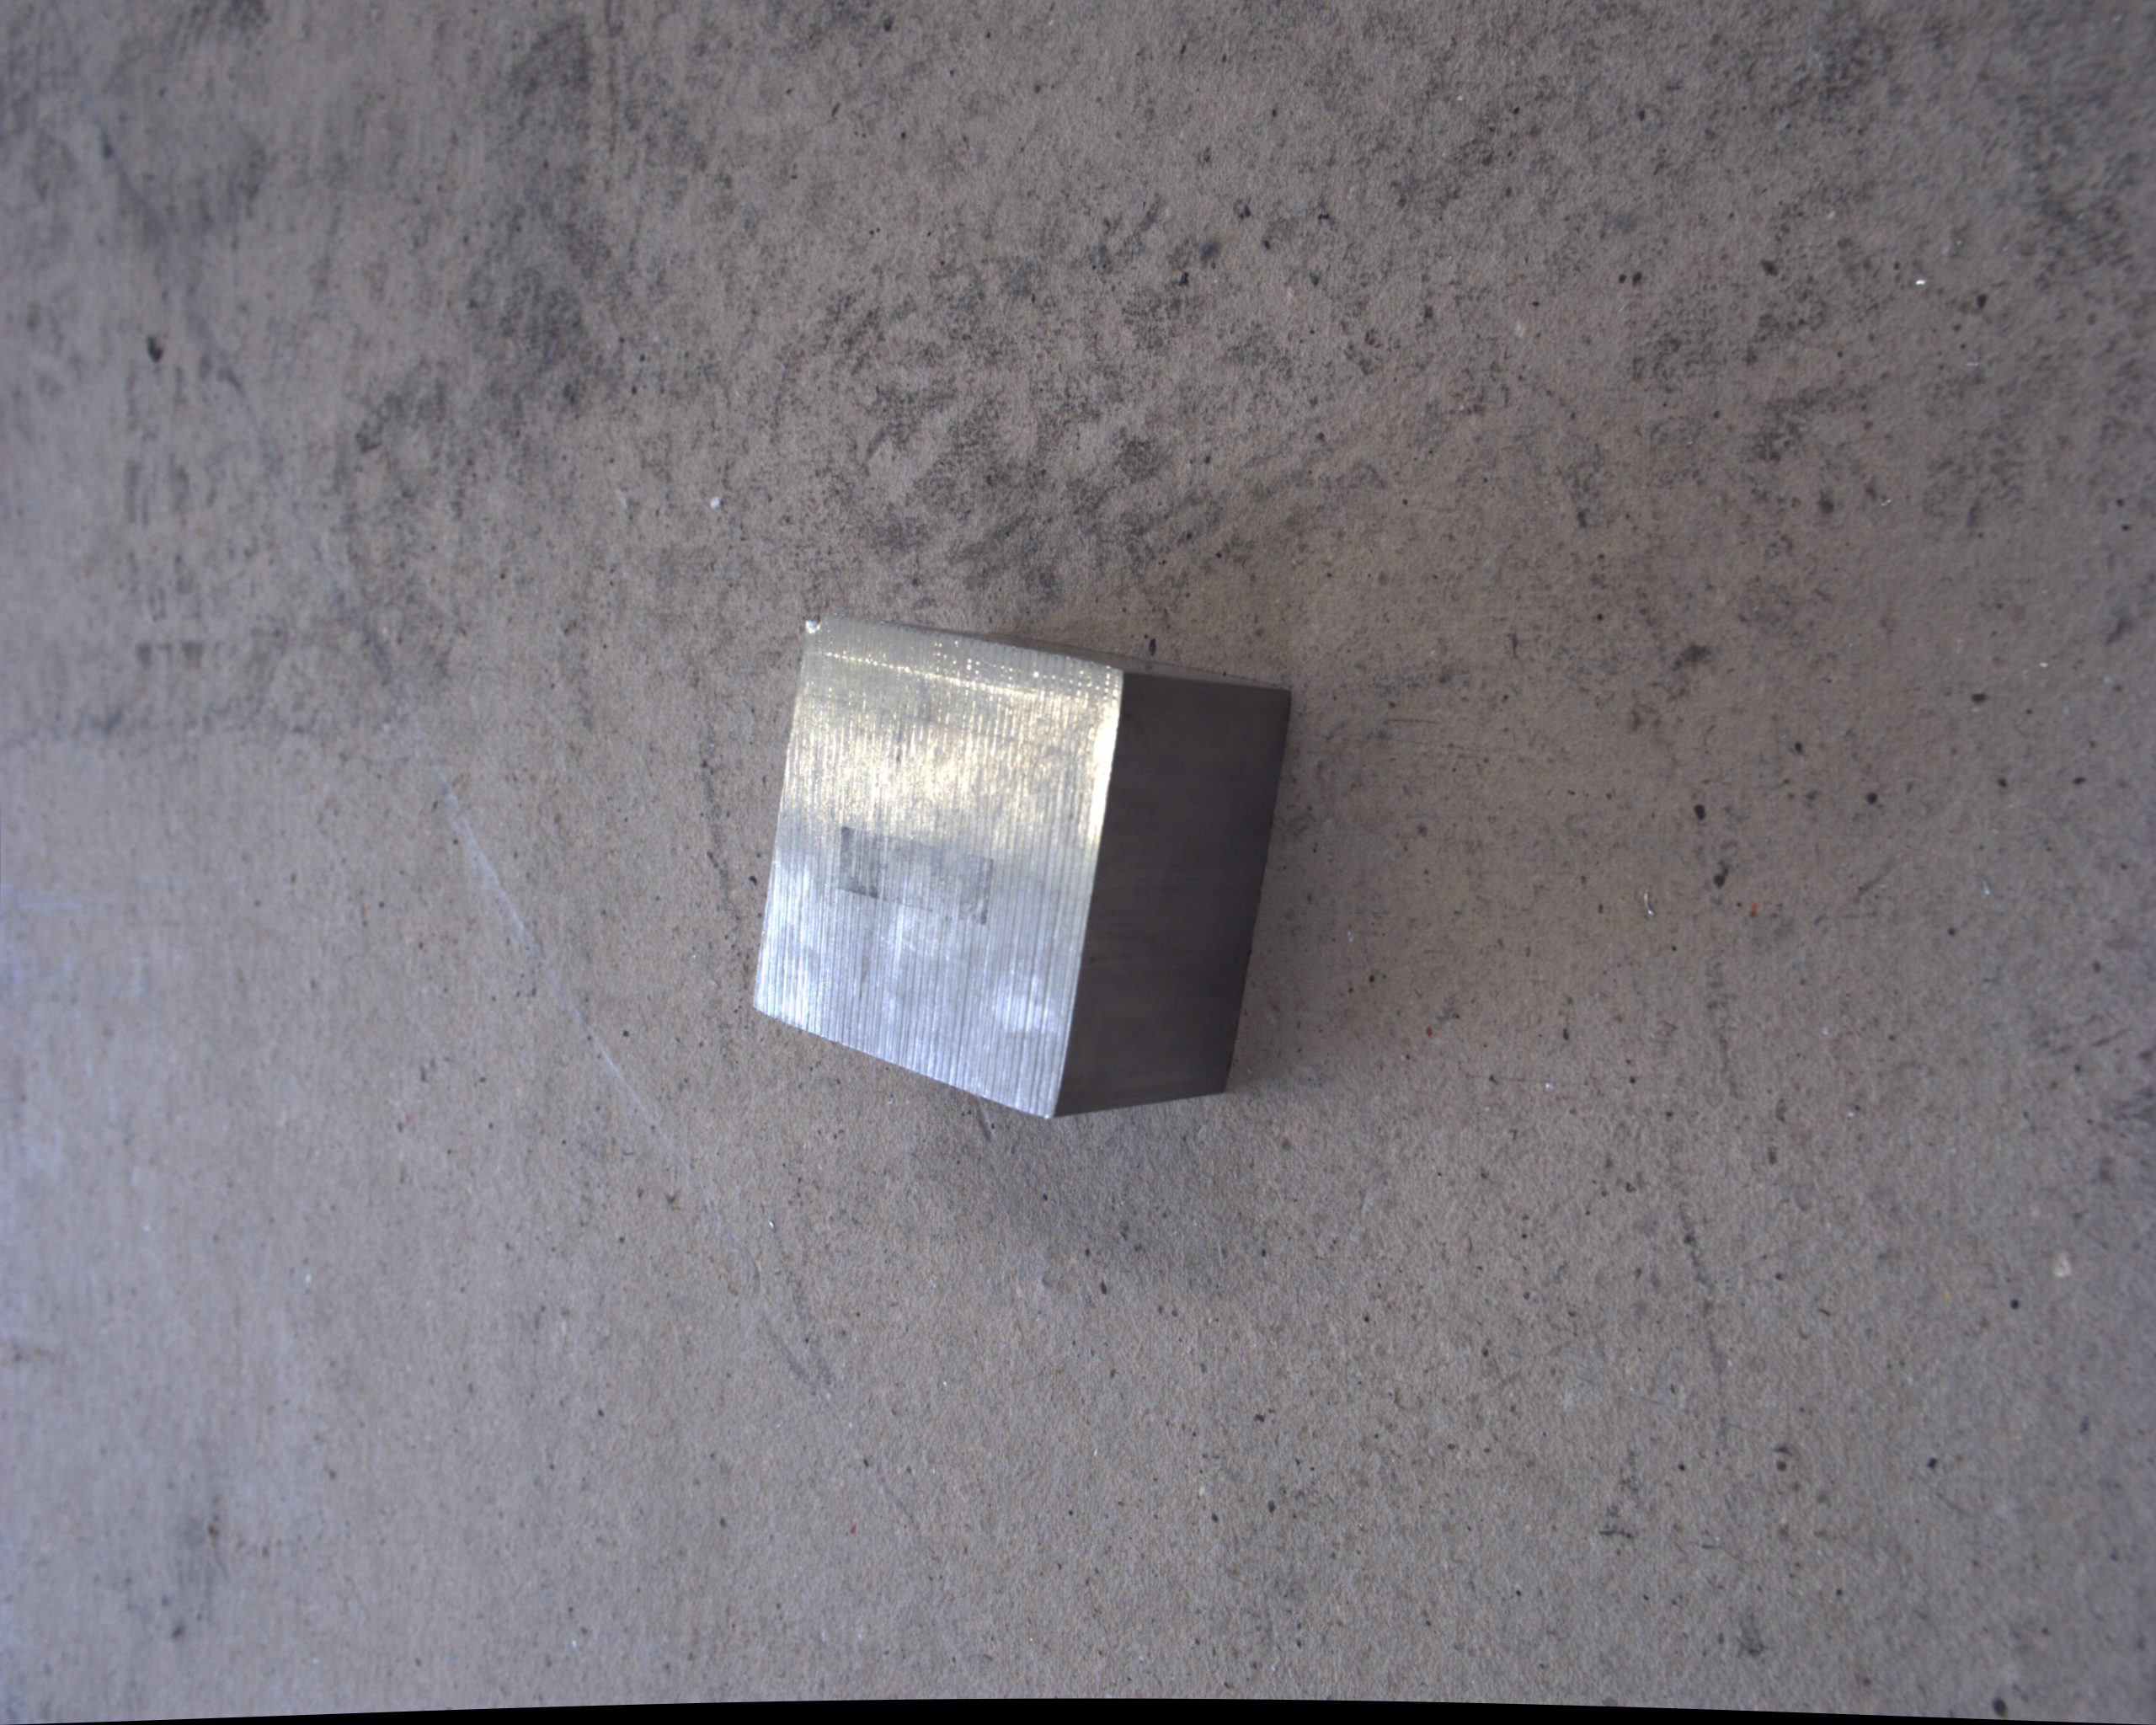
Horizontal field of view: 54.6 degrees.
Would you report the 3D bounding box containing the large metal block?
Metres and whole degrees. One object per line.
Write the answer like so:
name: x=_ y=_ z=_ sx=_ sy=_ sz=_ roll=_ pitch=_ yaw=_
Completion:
large metal block: x=-0.012 y=-0.002 z=0.401 sx=0.080 sy=0.050 sz=0.080 roll=15 pitch=100 yaw=38
